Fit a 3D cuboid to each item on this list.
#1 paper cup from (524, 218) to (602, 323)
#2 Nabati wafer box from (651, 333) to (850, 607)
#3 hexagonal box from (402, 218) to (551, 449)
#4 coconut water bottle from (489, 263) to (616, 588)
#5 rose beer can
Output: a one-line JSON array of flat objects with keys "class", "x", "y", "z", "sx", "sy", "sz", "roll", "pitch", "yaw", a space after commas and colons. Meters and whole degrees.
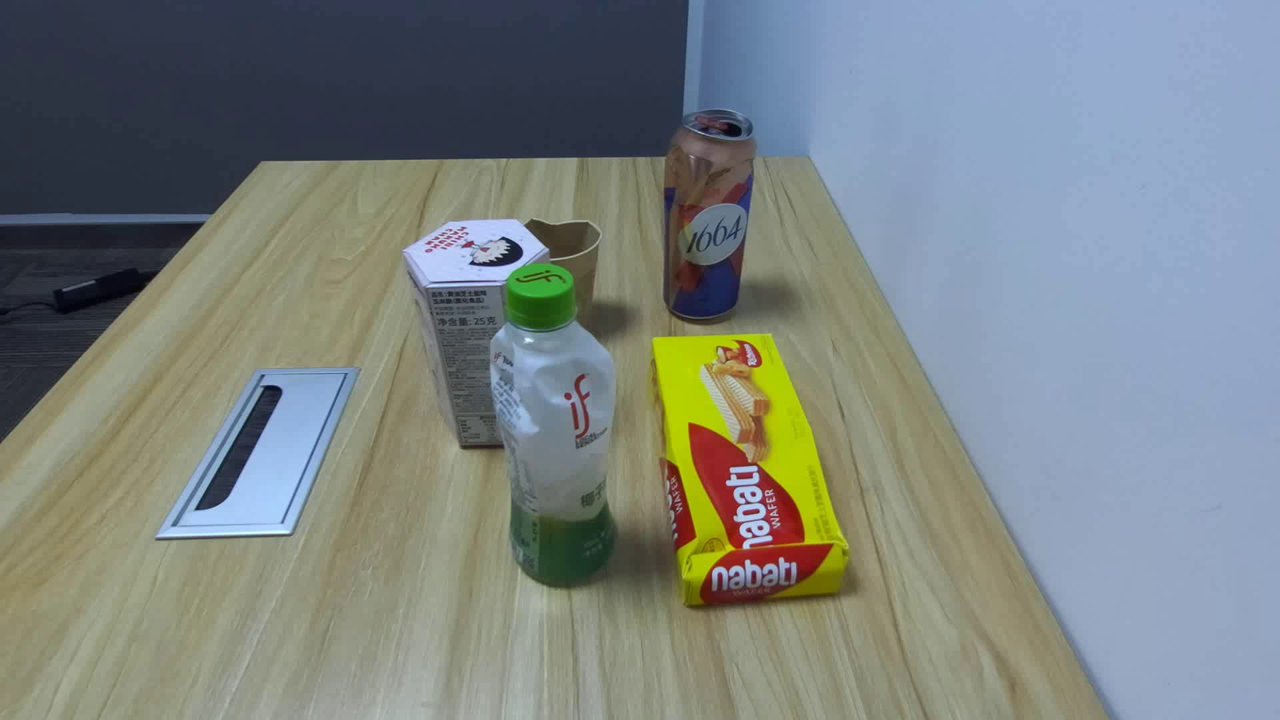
[{"class": "paper cup", "x": -0.067, "y": -0.066, "z": 0.581, "sx": 0.068, "sy": 0.081, "sz": 0.073, "roll": 26, "pitch": 46, "yaw": 27}, {"class": "Nabati wafer box", "x": 0.063, "y": 0.058, "z": 0.464, "sx": 0.096, "sy": 0.042, "sz": 0.203, "roll": -2, "pitch": 40, "yaw": -3}, {"class": "hexagonal box", "x": -0.101, "y": -0.015, "z": 0.474, "sx": 0.083, "sy": 0.136, "sz": 0.091, "roll": 18, "pitch": 41, "yaw": 22}, {"class": "coconut water bottle", "x": -0.045, "y": 0.038, "z": 0.372, "sx": 0.067, "sy": 0.187, "sz": 0.067, "roll": 0, "pitch": 37, "yaw": 0}, {"class": "rose beer can", "x": 0.056, "y": -0.111, "z": 0.572, "sx": 0.076, "sy": 0.167, "sz": 0.065, "roll": -15, "pitch": 42, "yaw": -24}]
